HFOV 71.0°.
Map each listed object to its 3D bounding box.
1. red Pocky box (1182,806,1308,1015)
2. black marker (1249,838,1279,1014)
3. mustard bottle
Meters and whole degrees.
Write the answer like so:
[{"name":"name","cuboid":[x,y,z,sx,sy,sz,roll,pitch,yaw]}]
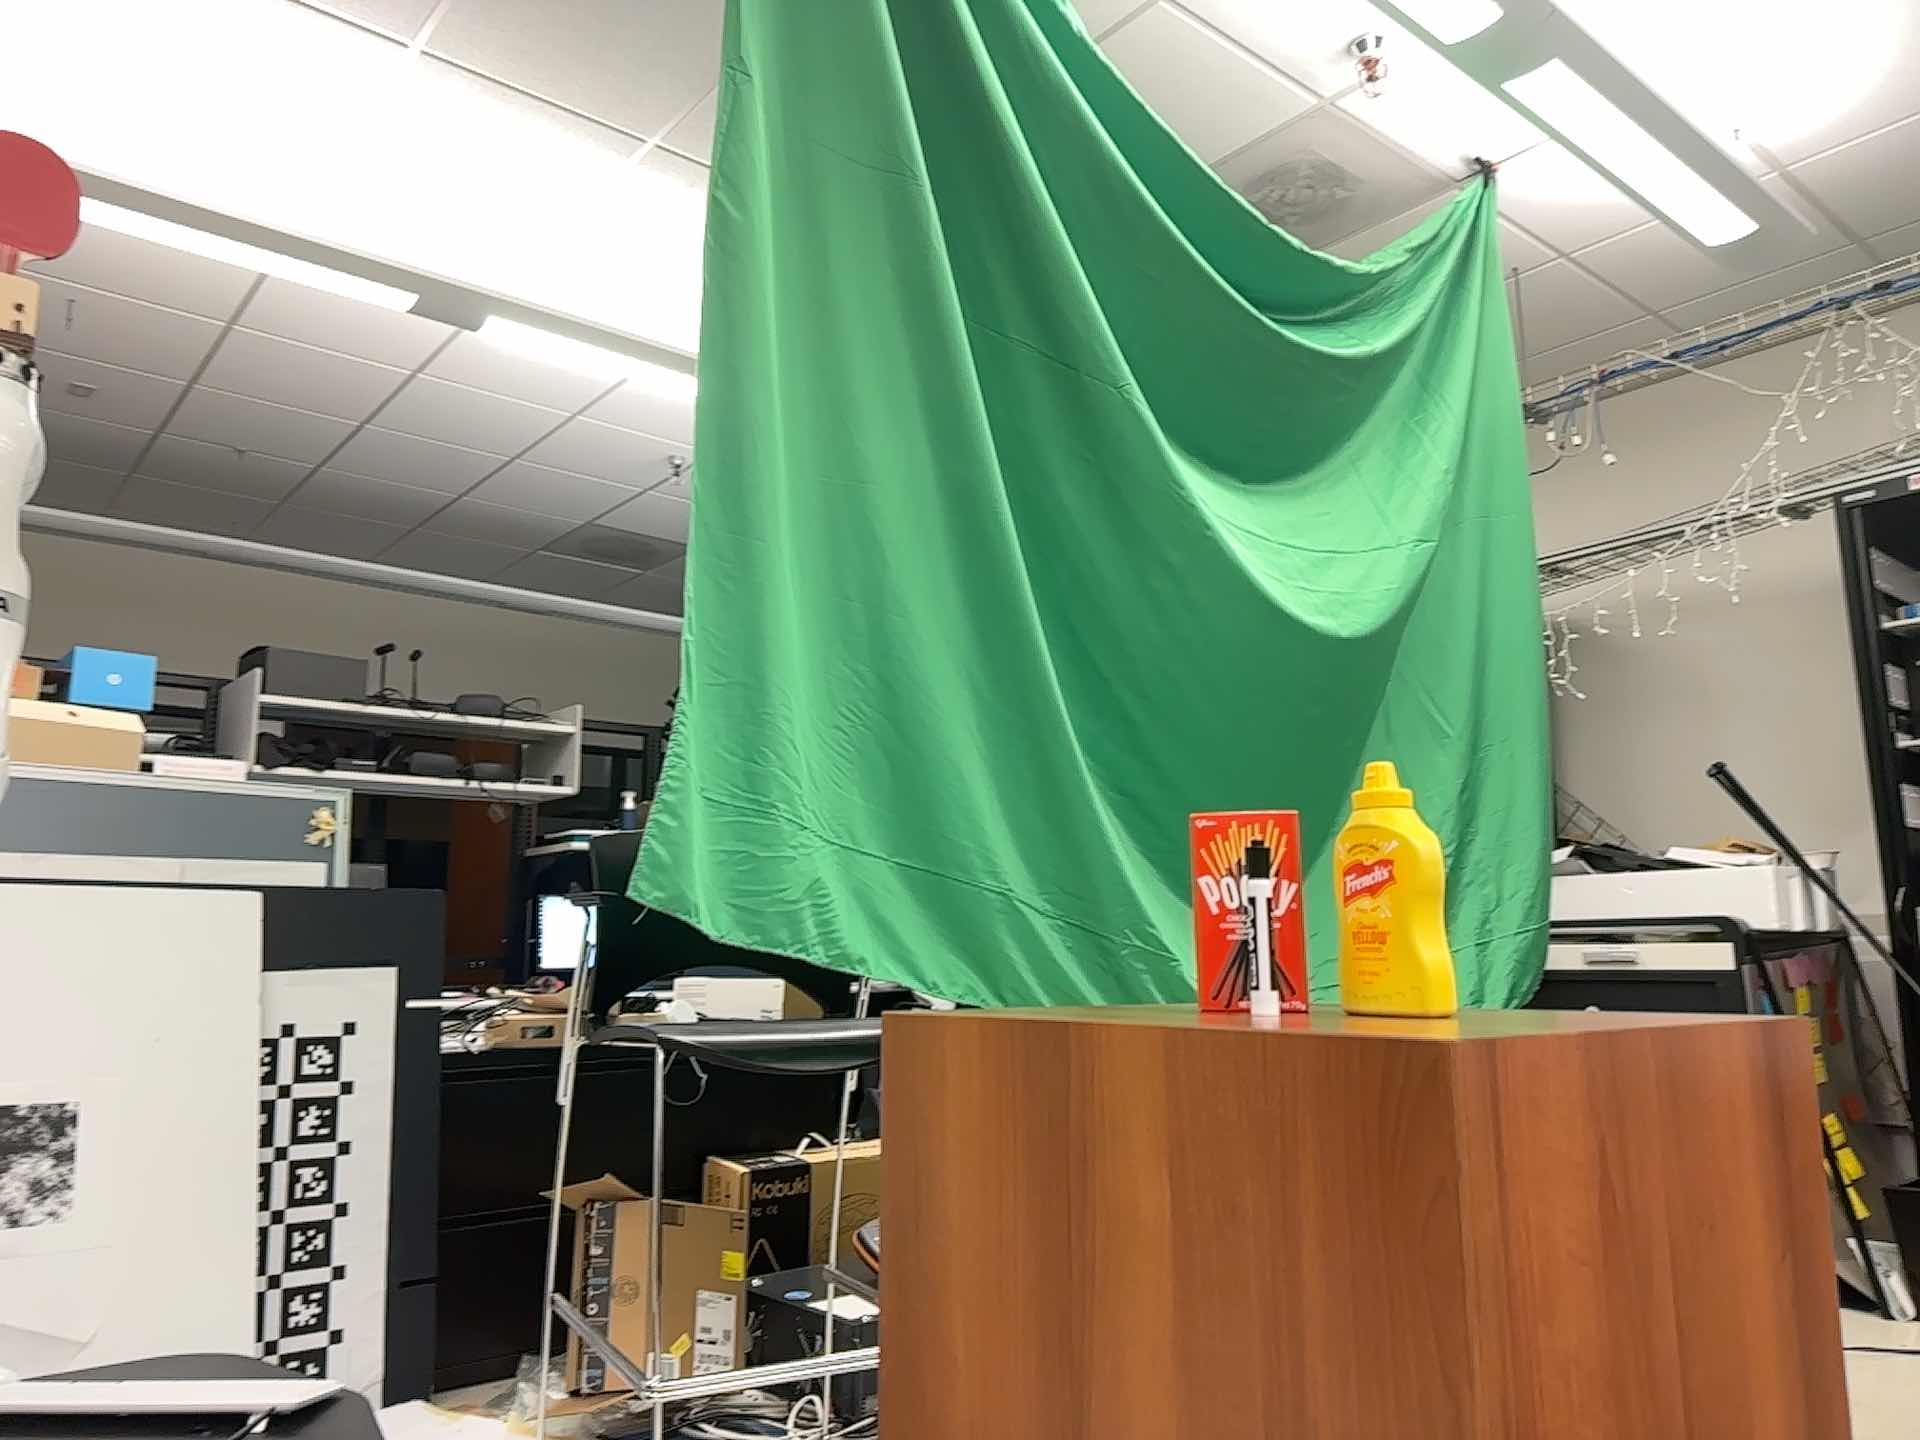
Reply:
[{"name":"red Pocky box","cuboid":[0.215,0.144,1.023,0.083,0.155,0.028,-5,-8,14]},{"name":"black marker","cuboid":[0.213,0.144,0.944,0.020,0.121,0.020,2,-10,0]},{"name":"mustard bottle","cuboid":[0.304,0.116,0.961,0.054,0.184,0.092,0,-9,-20]}]
